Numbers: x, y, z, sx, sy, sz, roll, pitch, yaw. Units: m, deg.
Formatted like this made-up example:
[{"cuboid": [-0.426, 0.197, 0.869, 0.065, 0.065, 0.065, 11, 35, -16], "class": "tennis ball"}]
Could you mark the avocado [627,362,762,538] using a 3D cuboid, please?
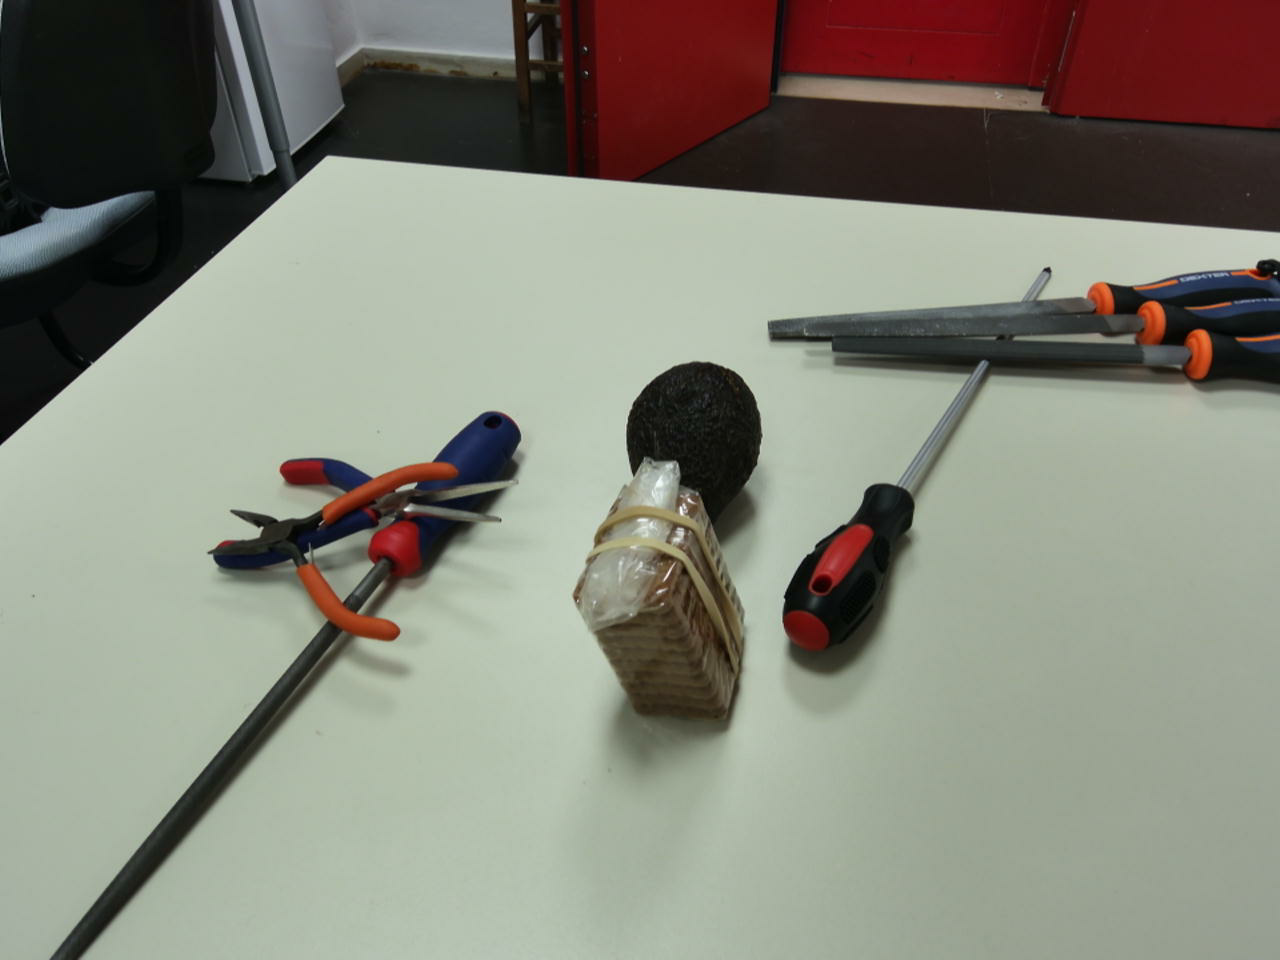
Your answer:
[{"cuboid": [0.024, -0.021, 0.511, 0.070, 0.069, 0.090, 26, 46, 29], "class": "avocado"}]
